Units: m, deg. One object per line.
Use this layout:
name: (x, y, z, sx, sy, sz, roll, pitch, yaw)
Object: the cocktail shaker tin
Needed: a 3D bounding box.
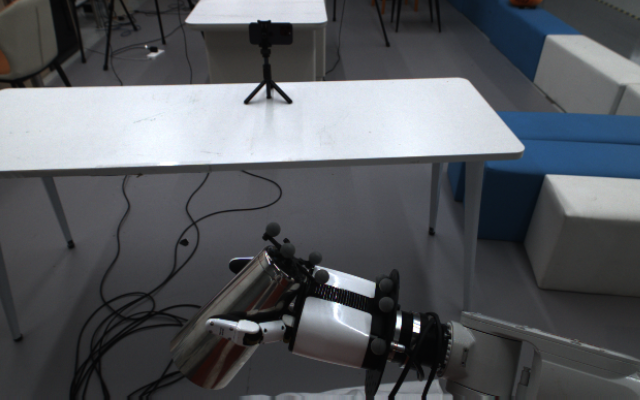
cocktail shaker tin: (-0.095, 0.135, 0.594, 0.093, 0.170, 0.093, 41, 12, -11)
